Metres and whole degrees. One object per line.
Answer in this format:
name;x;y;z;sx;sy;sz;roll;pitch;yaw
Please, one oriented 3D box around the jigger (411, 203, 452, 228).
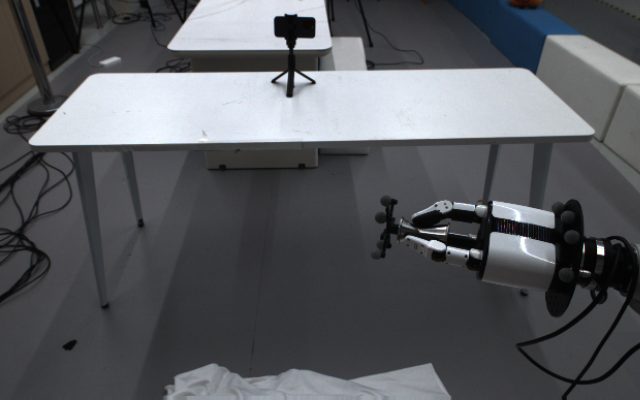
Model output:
jigger;0.154;0.046;0.691;0.071;0.043;0.043;9;35;17
